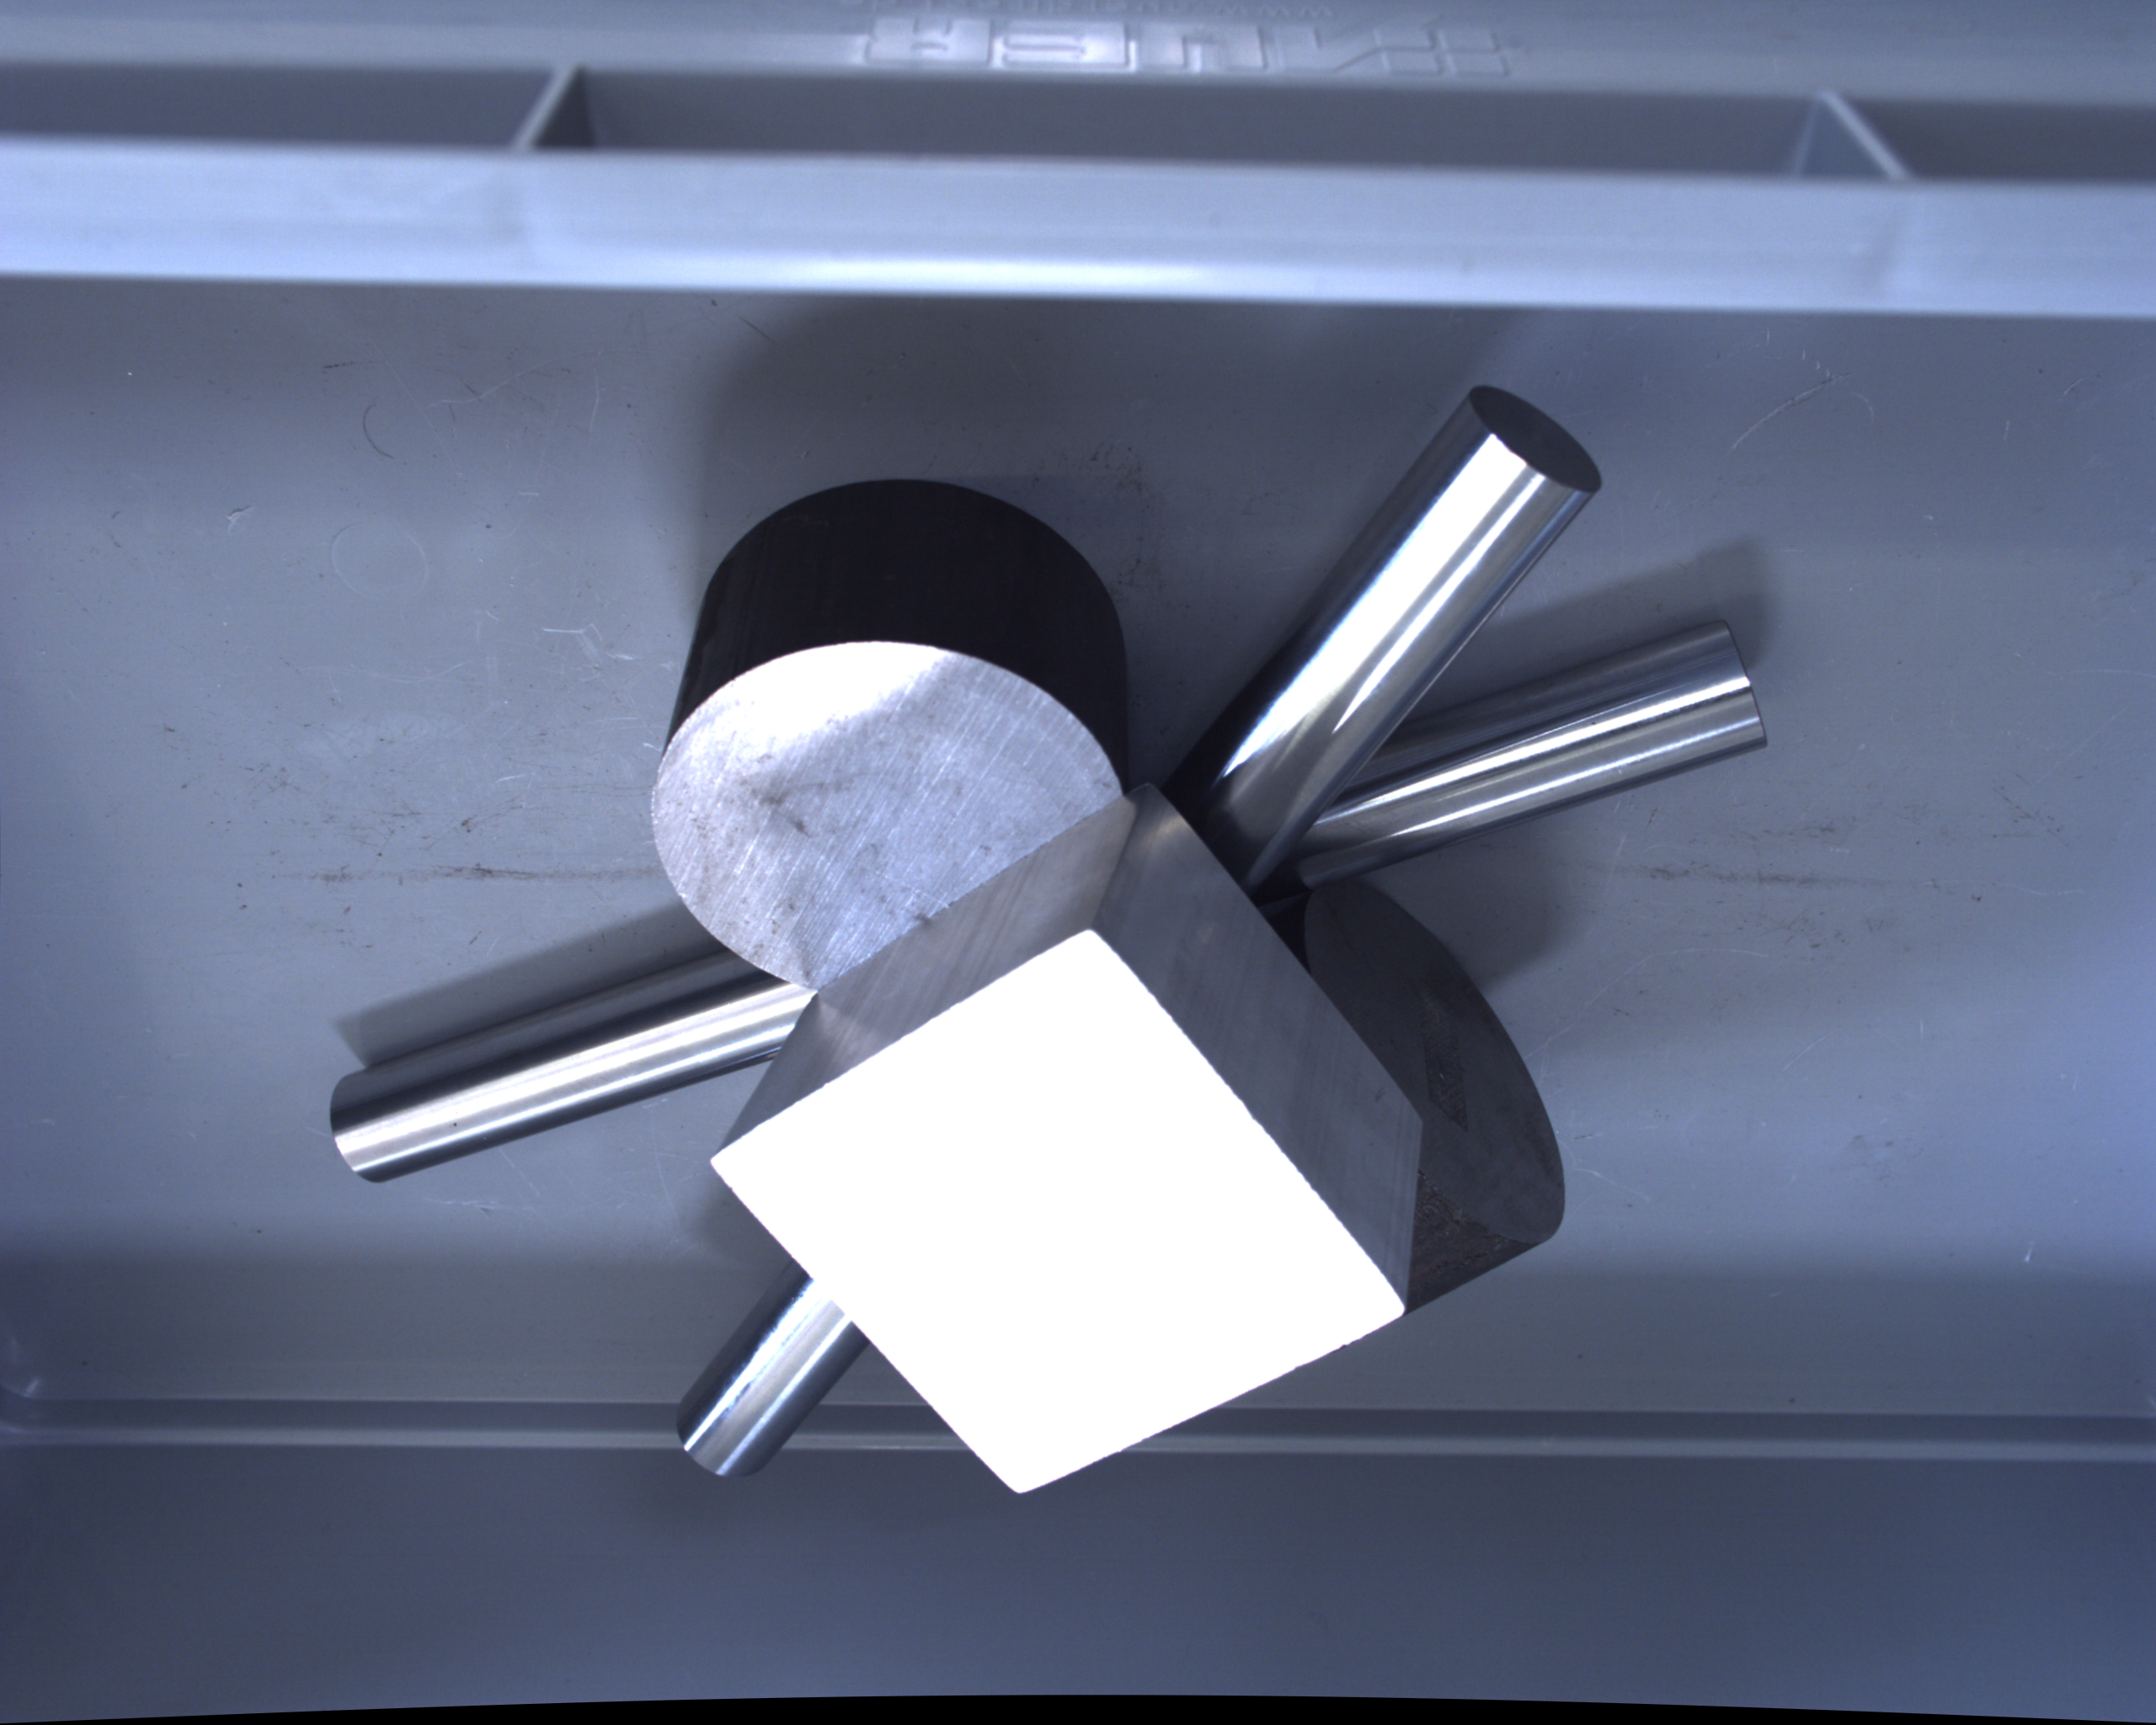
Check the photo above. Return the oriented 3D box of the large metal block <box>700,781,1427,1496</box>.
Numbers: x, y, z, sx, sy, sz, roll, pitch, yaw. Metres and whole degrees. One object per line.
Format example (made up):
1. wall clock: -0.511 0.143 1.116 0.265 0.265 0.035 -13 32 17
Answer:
1. large metal block: 0.000 0.047 0.347 0.080 0.050 0.080 -32 106 25

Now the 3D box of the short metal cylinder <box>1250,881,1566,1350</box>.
1. short metal cylinder: 0.052 0.050 0.415 0.050 0.080 0.080 -35 122 27

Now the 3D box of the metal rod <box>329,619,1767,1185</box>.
1. metal rod: -0.017 0.013 0.418 0.301 0.025 0.025 -18 128 14

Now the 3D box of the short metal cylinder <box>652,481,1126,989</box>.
1. short metal cylinder: -0.032 -0.021 0.373 0.081 0.050 0.079 0 130 0

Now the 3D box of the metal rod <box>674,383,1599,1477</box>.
1. metal rod: -0.006 0.033 0.403 0.025 0.025 0.298 24 126 -19

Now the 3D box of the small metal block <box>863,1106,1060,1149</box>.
1. small metal block: -0.030 0.054 0.453 0.050 0.025 0.050 -22 127 17
